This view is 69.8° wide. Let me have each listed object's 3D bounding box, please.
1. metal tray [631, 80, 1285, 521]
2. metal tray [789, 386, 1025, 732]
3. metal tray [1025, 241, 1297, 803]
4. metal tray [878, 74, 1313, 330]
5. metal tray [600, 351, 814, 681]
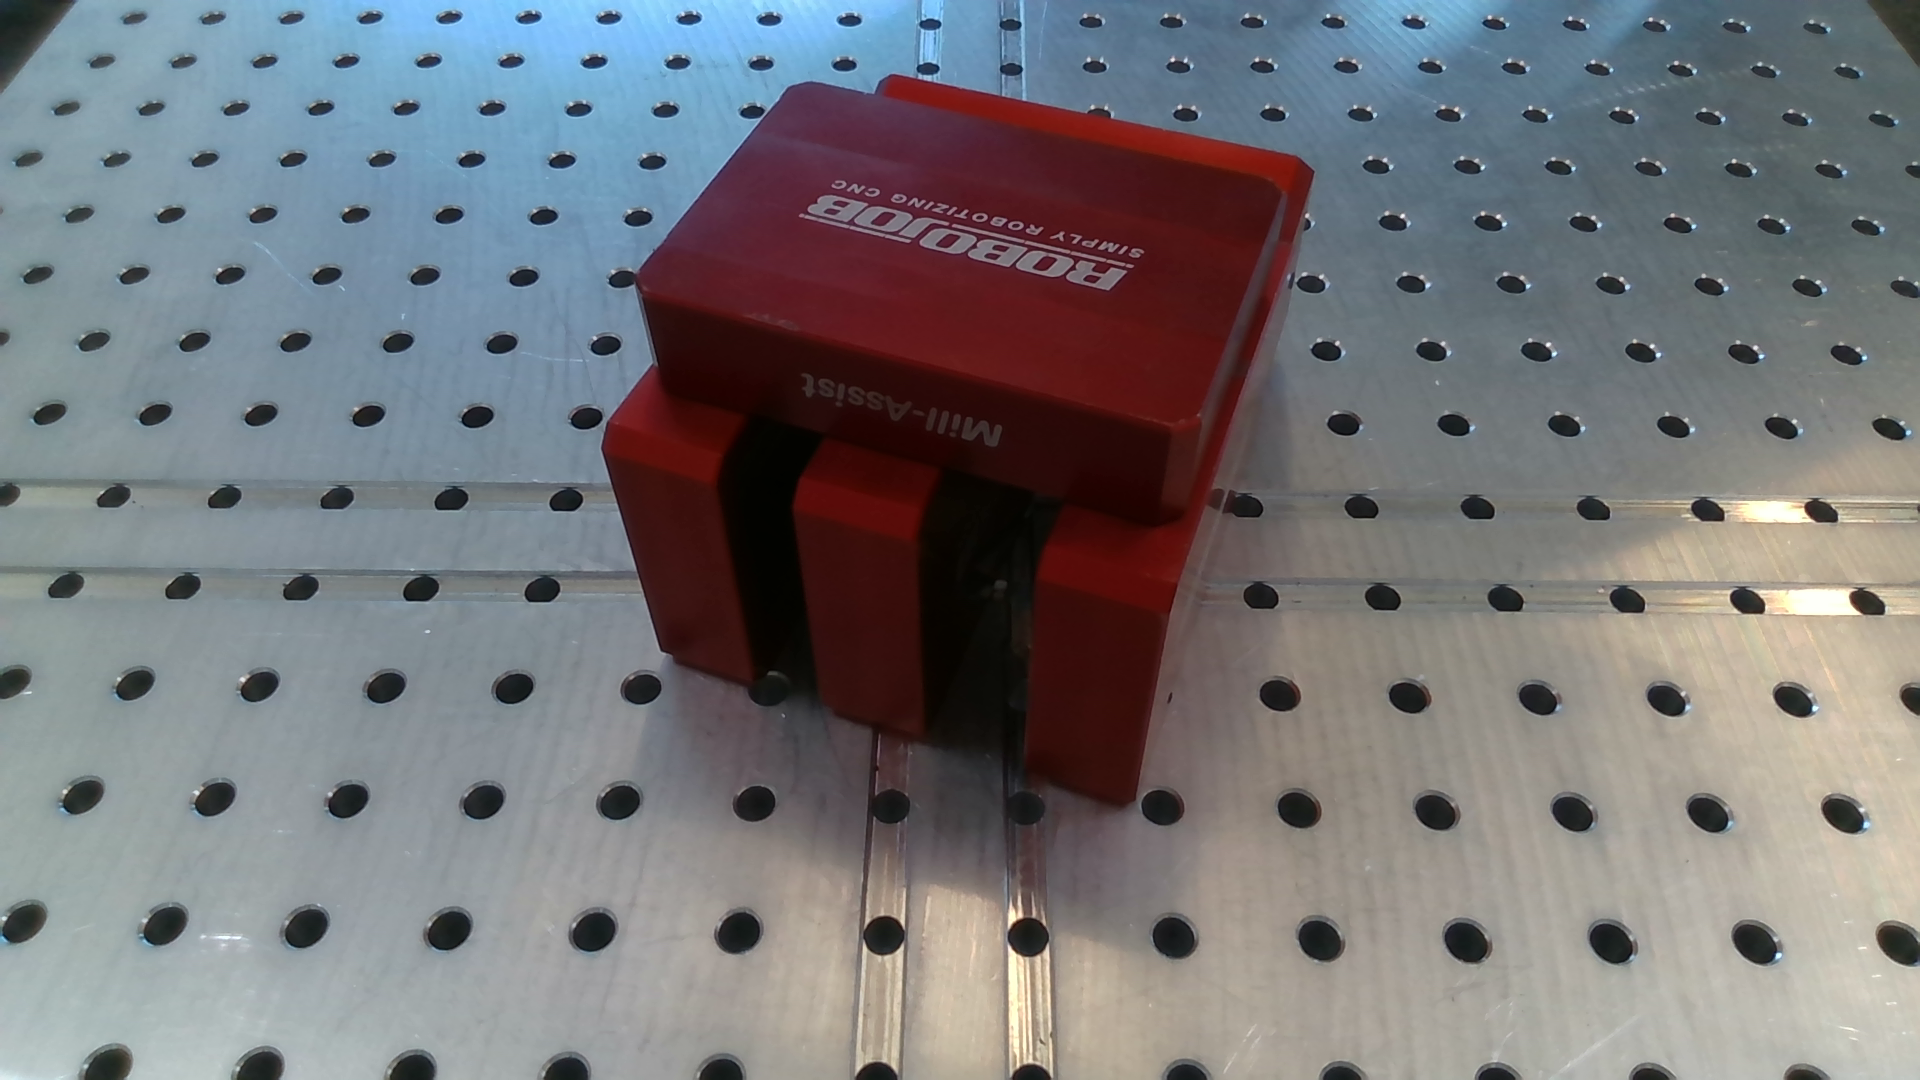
[{"bbox_3d":[0.002,-0.061,0.326,0.130,0.030,0.090,16,52,13],"label":"metal tray"},{"bbox_3d":[-0.003,-0.025,0.374,0.030,0.090,0.130,16,53,12],"label":"metal tray"},{"bbox_3d":[0.053,-0.009,0.361,0.030,0.090,0.130,16,52,14],"label":"metal tray"},{"bbox_3d":[0.037,-0.093,0.428,0.130,0.090,0.030,16,74,13],"label":"metal tray"},{"bbox_3d":[-0.046,-0.038,0.385,0.030,0.090,0.130,16,52,14],"label":"metal tray"}]
